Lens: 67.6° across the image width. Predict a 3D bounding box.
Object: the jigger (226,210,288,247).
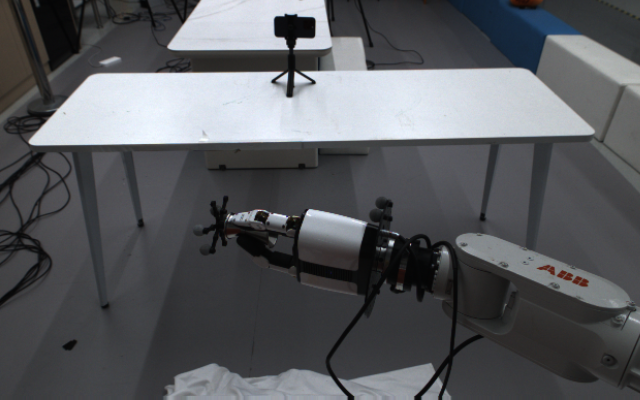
[{"bbox_3d":[-0.092,0.037,0.689,0.071,0.043,0.043,8,35,14],"label":"jigger"}]
